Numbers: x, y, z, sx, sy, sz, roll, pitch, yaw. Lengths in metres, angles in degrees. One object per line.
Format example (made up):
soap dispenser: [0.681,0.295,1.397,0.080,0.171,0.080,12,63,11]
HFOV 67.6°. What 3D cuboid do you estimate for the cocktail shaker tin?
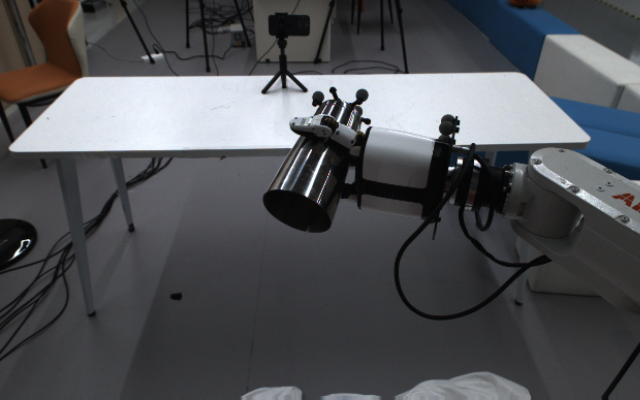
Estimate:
cocktail shaker tin: [-0.002,-0.053,0.642,0.093,0.093,0.170,13,57,16]
